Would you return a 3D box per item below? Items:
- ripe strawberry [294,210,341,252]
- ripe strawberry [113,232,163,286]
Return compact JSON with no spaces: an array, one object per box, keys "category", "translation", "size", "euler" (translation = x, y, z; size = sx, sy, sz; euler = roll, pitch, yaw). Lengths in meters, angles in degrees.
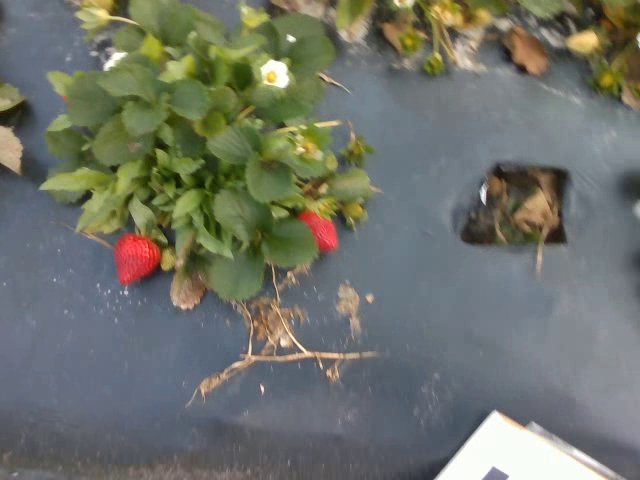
[{"category":"ripe strawberry","translation":[-0.002,-0.005,0.510],"size":[0.046,0.043,0.046],"euler":[37,6,22]},{"category":"ripe strawberry","translation":[-0.162,0.016,0.489],"size":[0.043,0.051,0.043],"euler":[19,-18,-6]}]
